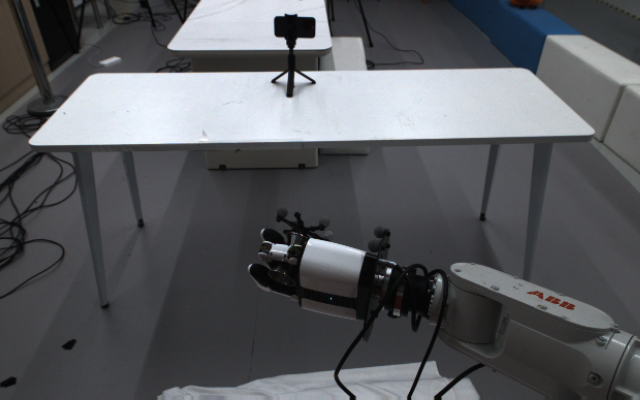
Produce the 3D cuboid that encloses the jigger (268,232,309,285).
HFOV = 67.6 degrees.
[{"bbox_3d":[-0.040,0.085,0.706,0.043,0.043,0.071,13,58,16],"label":"jigger"}]
